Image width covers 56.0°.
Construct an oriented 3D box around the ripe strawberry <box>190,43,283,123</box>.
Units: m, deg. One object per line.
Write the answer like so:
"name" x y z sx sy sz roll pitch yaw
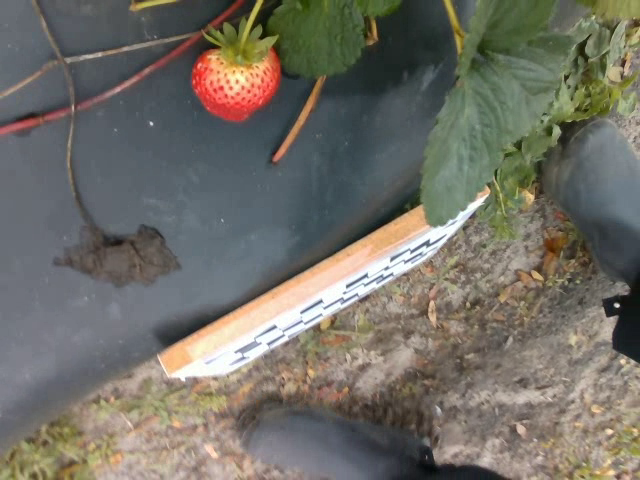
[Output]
"ripe strawberry" -0.052 -0.094 0.377 0.061 0.050 0.065 -29 -17 -16
